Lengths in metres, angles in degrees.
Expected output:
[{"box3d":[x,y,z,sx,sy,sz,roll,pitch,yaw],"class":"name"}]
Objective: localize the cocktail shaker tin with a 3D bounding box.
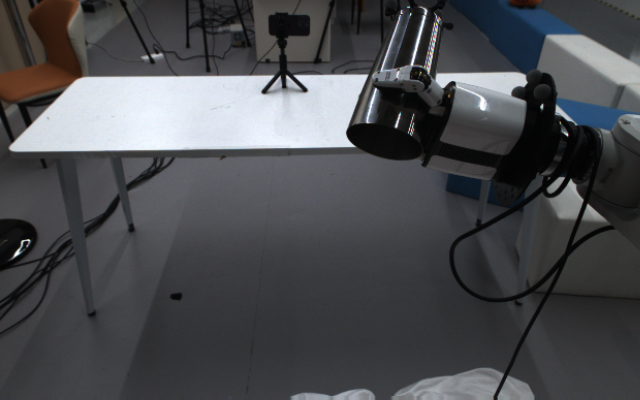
[{"box3d":[0.100,-0.145,0.589,0.093,0.093,0.170,13,73,15],"class":"cocktail shaker tin"}]
